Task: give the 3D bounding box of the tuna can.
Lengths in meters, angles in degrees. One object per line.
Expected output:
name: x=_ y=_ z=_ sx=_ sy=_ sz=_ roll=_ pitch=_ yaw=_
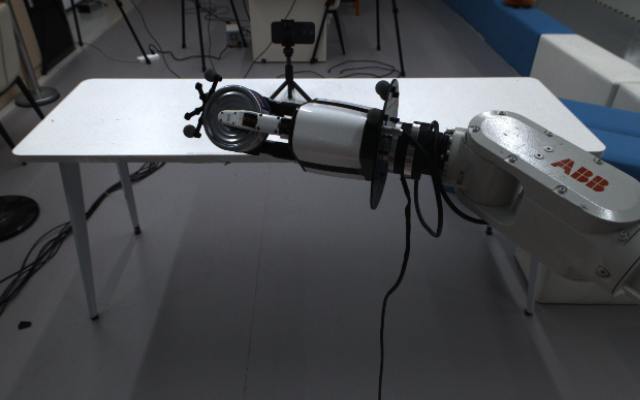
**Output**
tuna can: x=-0.107 y=-0.107 z=0.633 sx=0.085 sy=0.085 sz=0.034 roll=12 pitch=5 yaw=13
